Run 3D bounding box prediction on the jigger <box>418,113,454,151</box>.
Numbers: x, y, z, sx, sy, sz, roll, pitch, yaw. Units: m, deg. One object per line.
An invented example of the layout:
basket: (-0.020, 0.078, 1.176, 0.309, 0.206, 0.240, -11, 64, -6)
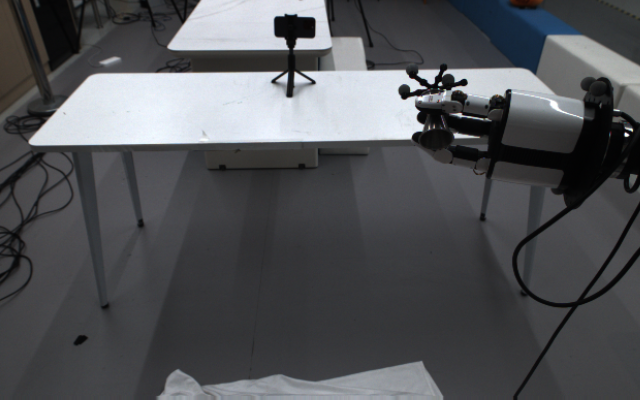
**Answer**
jigger: (0.148, -0.108, 0.626, 0.043, 0.043, 0.071, 4, 61, 2)
